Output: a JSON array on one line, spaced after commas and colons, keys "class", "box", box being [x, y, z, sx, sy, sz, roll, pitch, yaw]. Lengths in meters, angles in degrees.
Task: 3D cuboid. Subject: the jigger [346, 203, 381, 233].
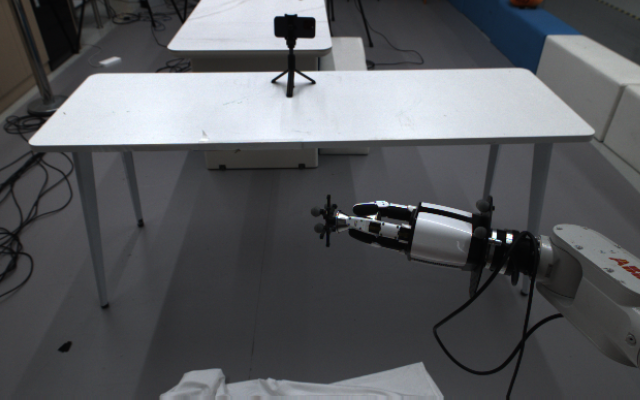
[{"class": "jigger", "box": [0.070, 0.032, 0.794, 0.071, 0.043, 0.043, 2, 34, 17]}]
